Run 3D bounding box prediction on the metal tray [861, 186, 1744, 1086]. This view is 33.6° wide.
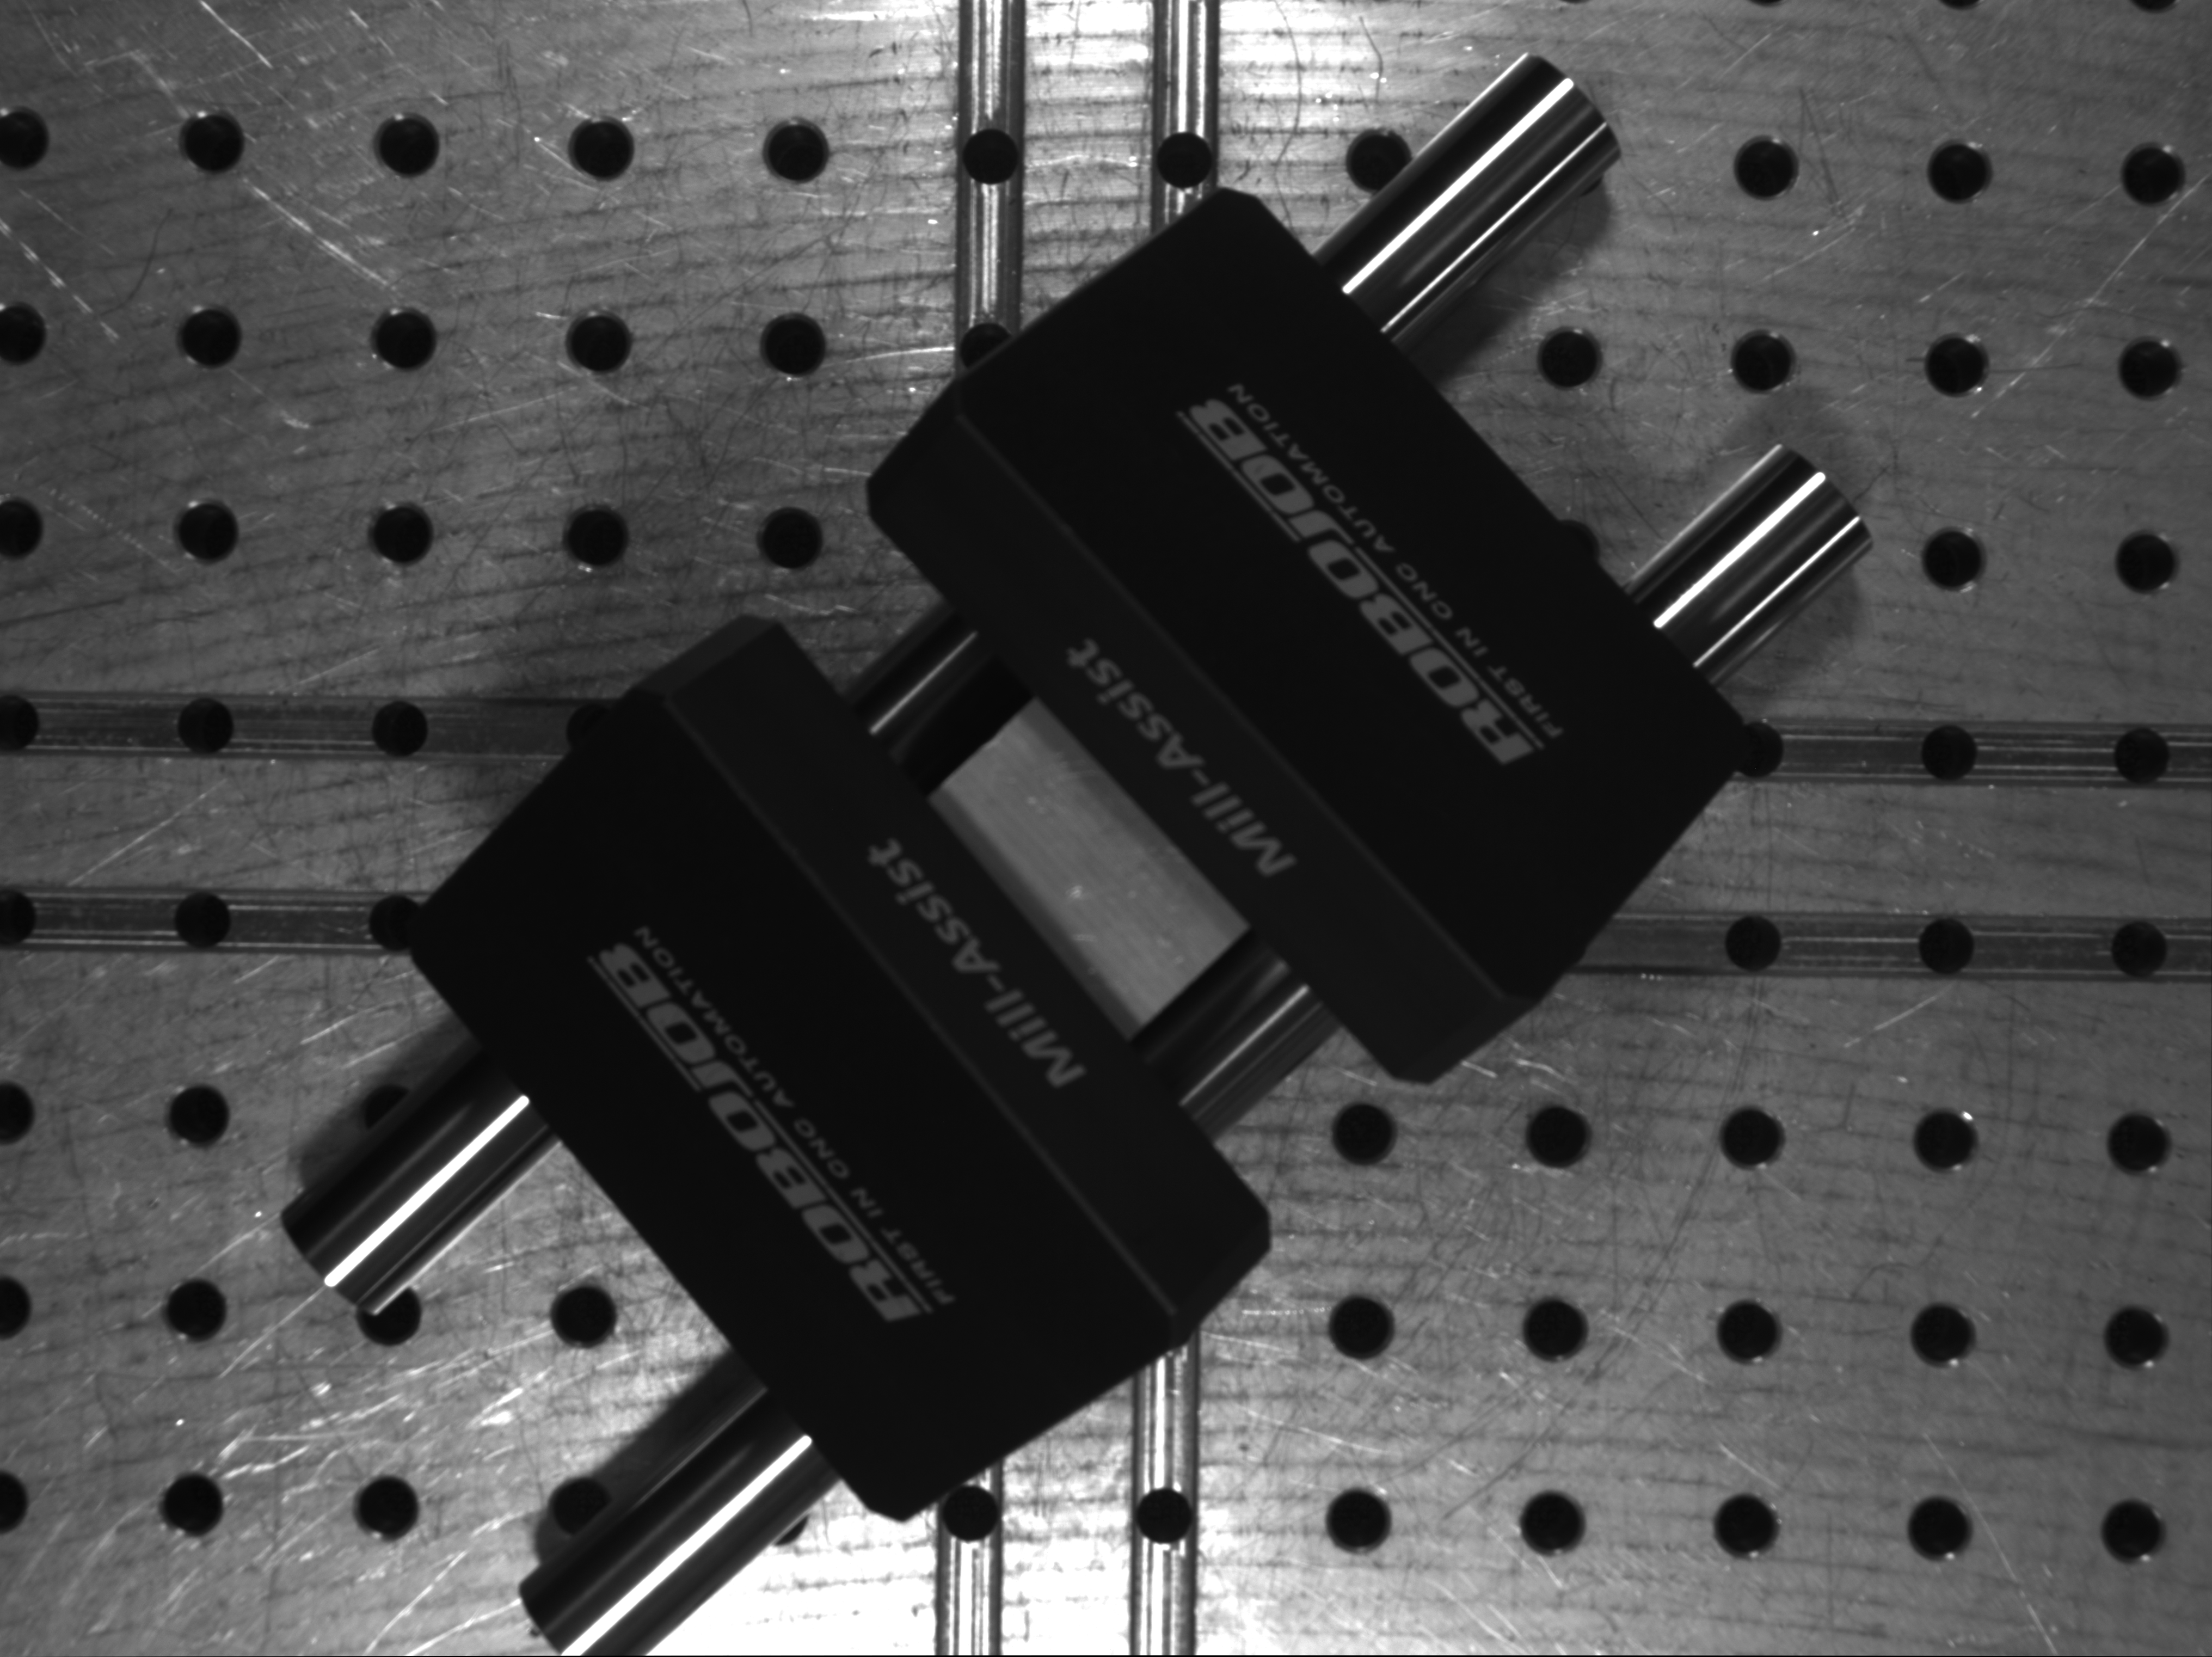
[{"bbox_3d":[0.034,-0.033,0.593,0.130,0.030,0.090,47,46,0],"label":"metal tray"}]

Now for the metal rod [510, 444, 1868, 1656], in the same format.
[{"bbox_3d":[0.015,0.042,0.648,0.300,0.025,0.025,-42,90,0],"label":"metal rod"}]

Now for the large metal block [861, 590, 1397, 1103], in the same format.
[{"bbox_3d":[0.000,0.002,0.619,0.080,0.080,0.050,-42,90,0],"label":"large metal block"}]

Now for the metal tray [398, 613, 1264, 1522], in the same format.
[{"bbox_3d":[-0.046,0.041,0.593,0.130,0.030,0.090,50,133,0],"label":"metal tray"}]

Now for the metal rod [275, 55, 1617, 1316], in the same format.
[{"bbox_3d":[-0.028,-0.025,0.647,0.300,0.025,0.025,-43,90,0],"label":"metal rod"}]
